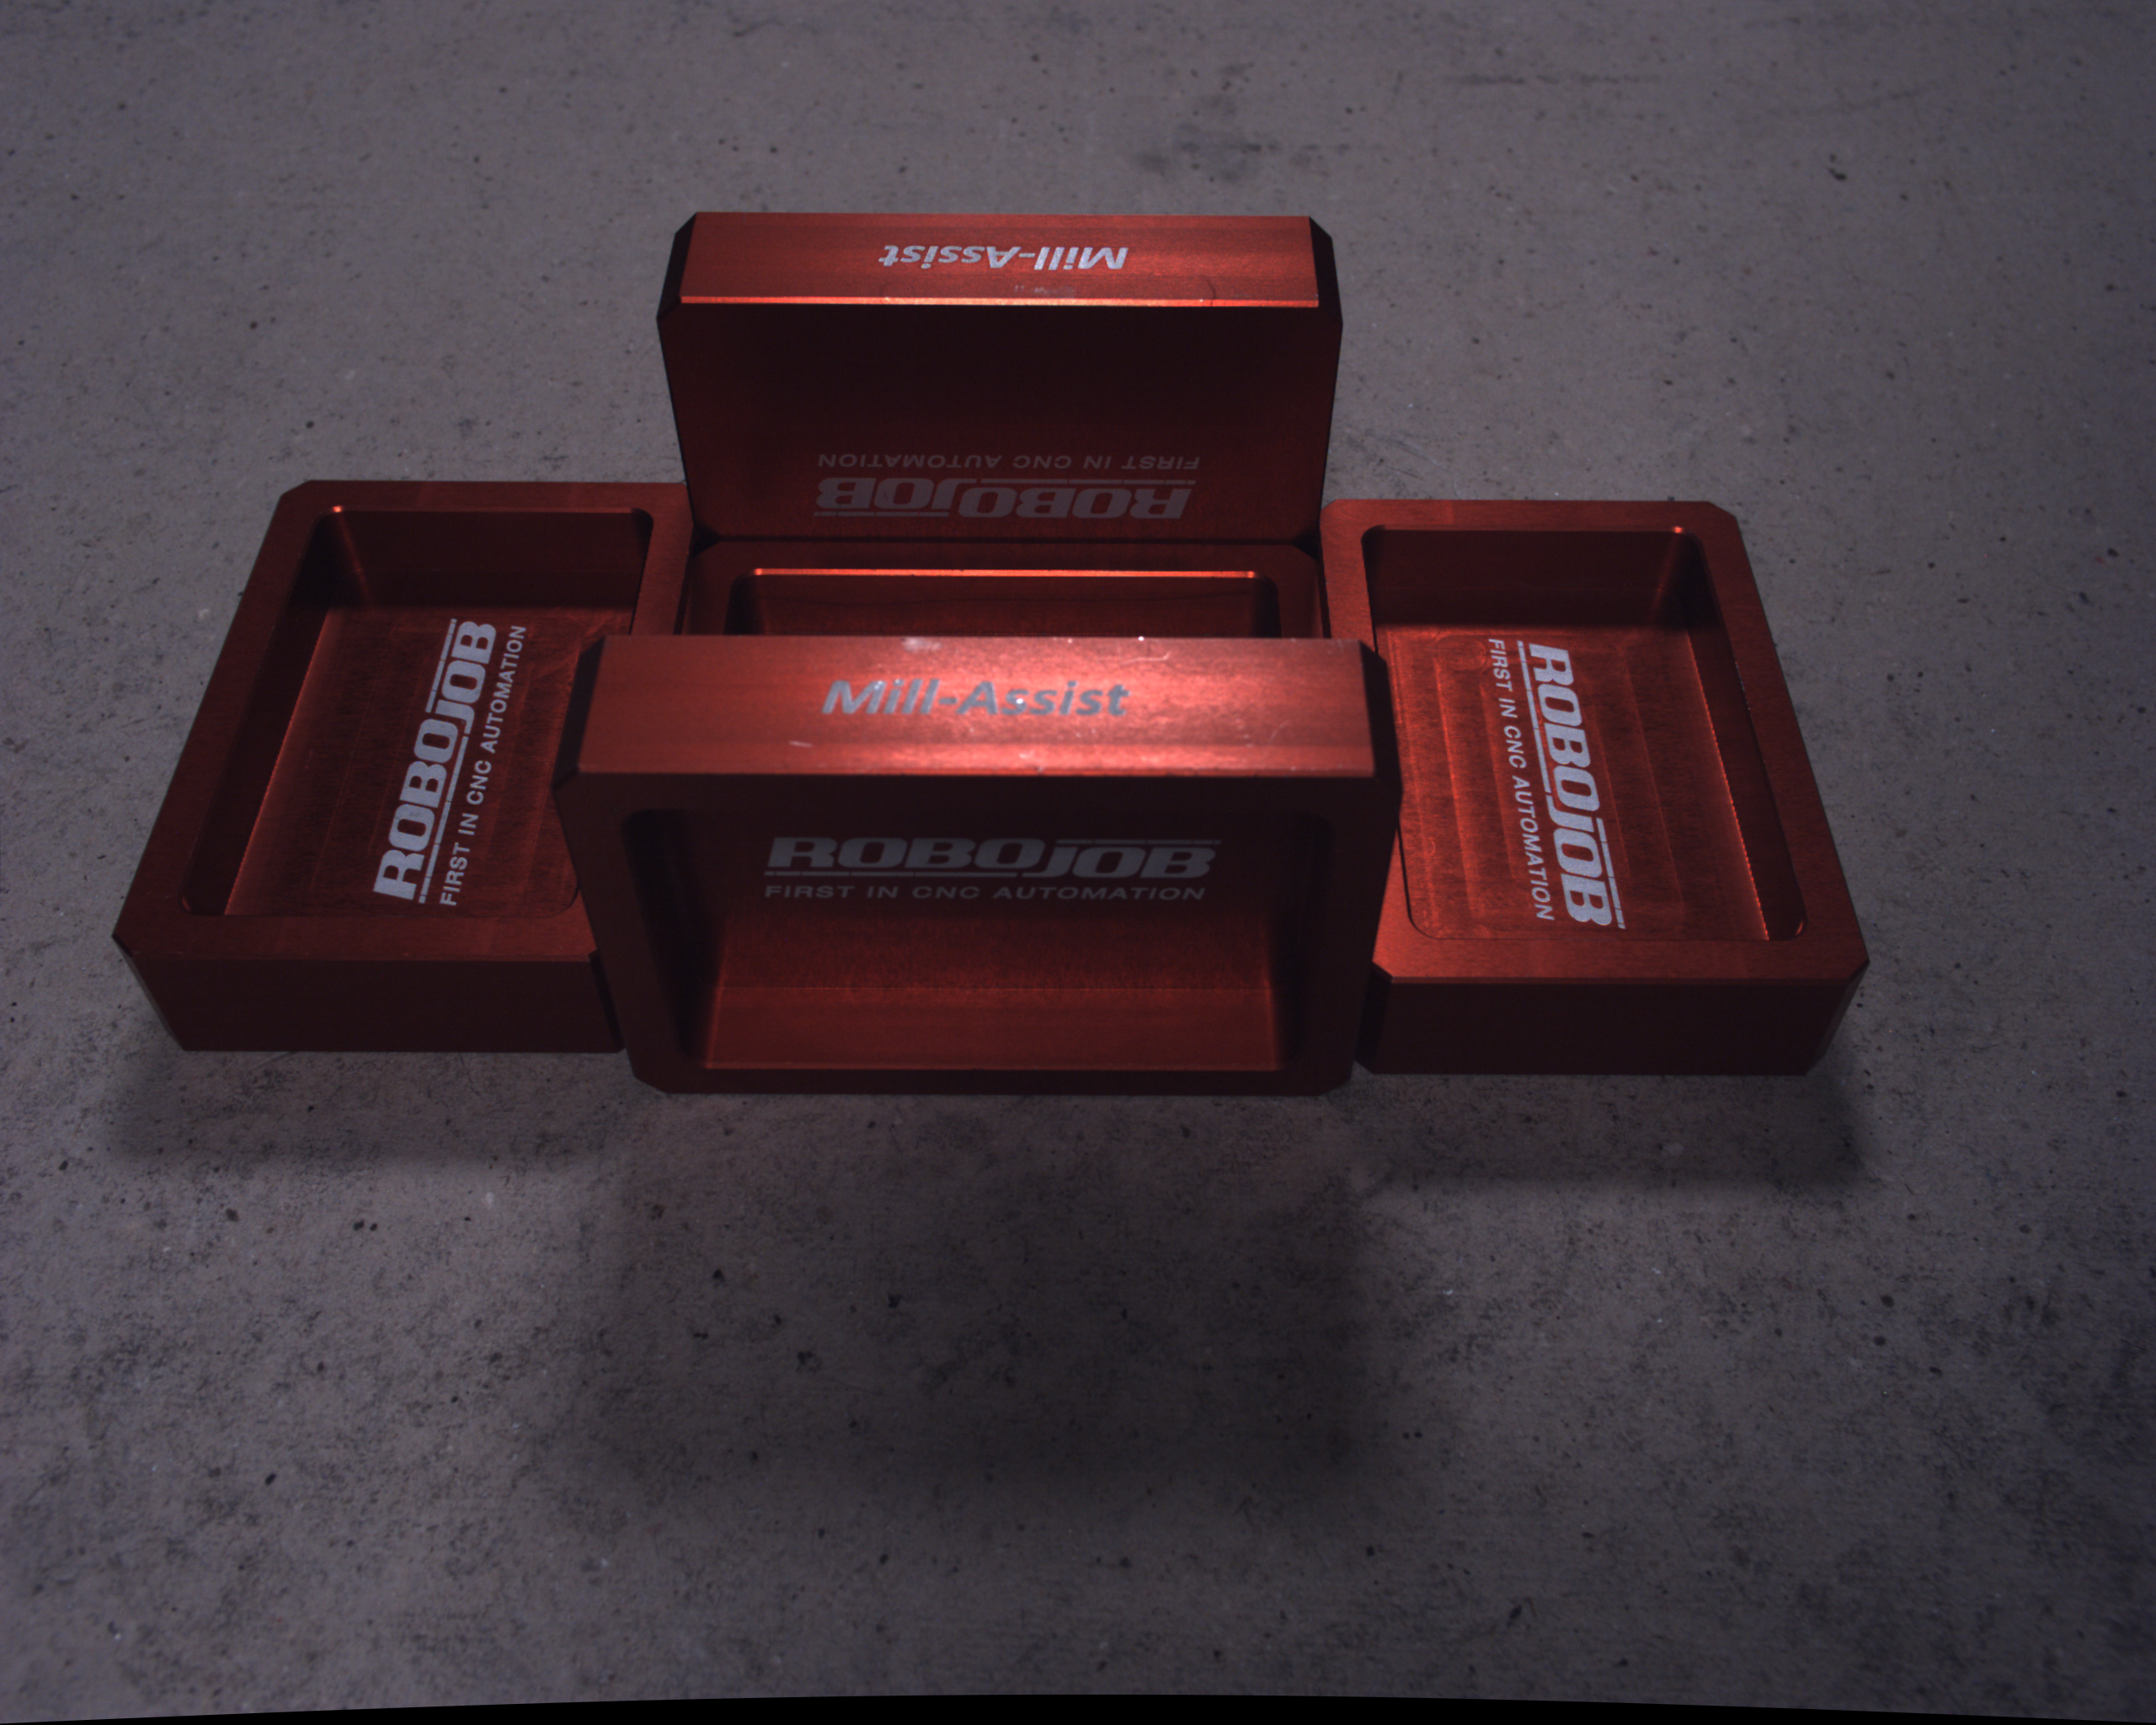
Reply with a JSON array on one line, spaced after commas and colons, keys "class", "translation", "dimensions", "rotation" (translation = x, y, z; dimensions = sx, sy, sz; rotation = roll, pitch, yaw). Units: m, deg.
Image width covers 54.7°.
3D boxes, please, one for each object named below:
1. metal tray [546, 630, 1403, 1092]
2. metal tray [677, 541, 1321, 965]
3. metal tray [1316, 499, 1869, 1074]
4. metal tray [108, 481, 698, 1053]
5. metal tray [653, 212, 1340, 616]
[{"class": "metal tray", "translation": [-0.016, 0.002, 0.358], "dimensions": [0.131, 0.089, 0.030], "rotation": [0, 50, 0]}, {"class": "metal tray", "translation": [-0.016, -0.024, 0.421], "dimensions": [0.131, 0.030, 0.090], "rotation": [1, 50, 0]}, {"class": "metal tray", "translation": [0.095, -0.019, 0.419], "dimensions": [0.091, 0.030, 0.130], "rotation": [1, 50, 0]}, {"class": "metal tray", "translation": [-0.126, -0.023, 0.419], "dimensions": [0.091, 0.030, 0.130], "rotation": [1, 50, 0]}, {"class": "metal tray", "translation": [-0.016, -0.089, 0.437], "dimensions": [0.131, 0.089, 0.030], "rotation": [0, 50, -1]}]
